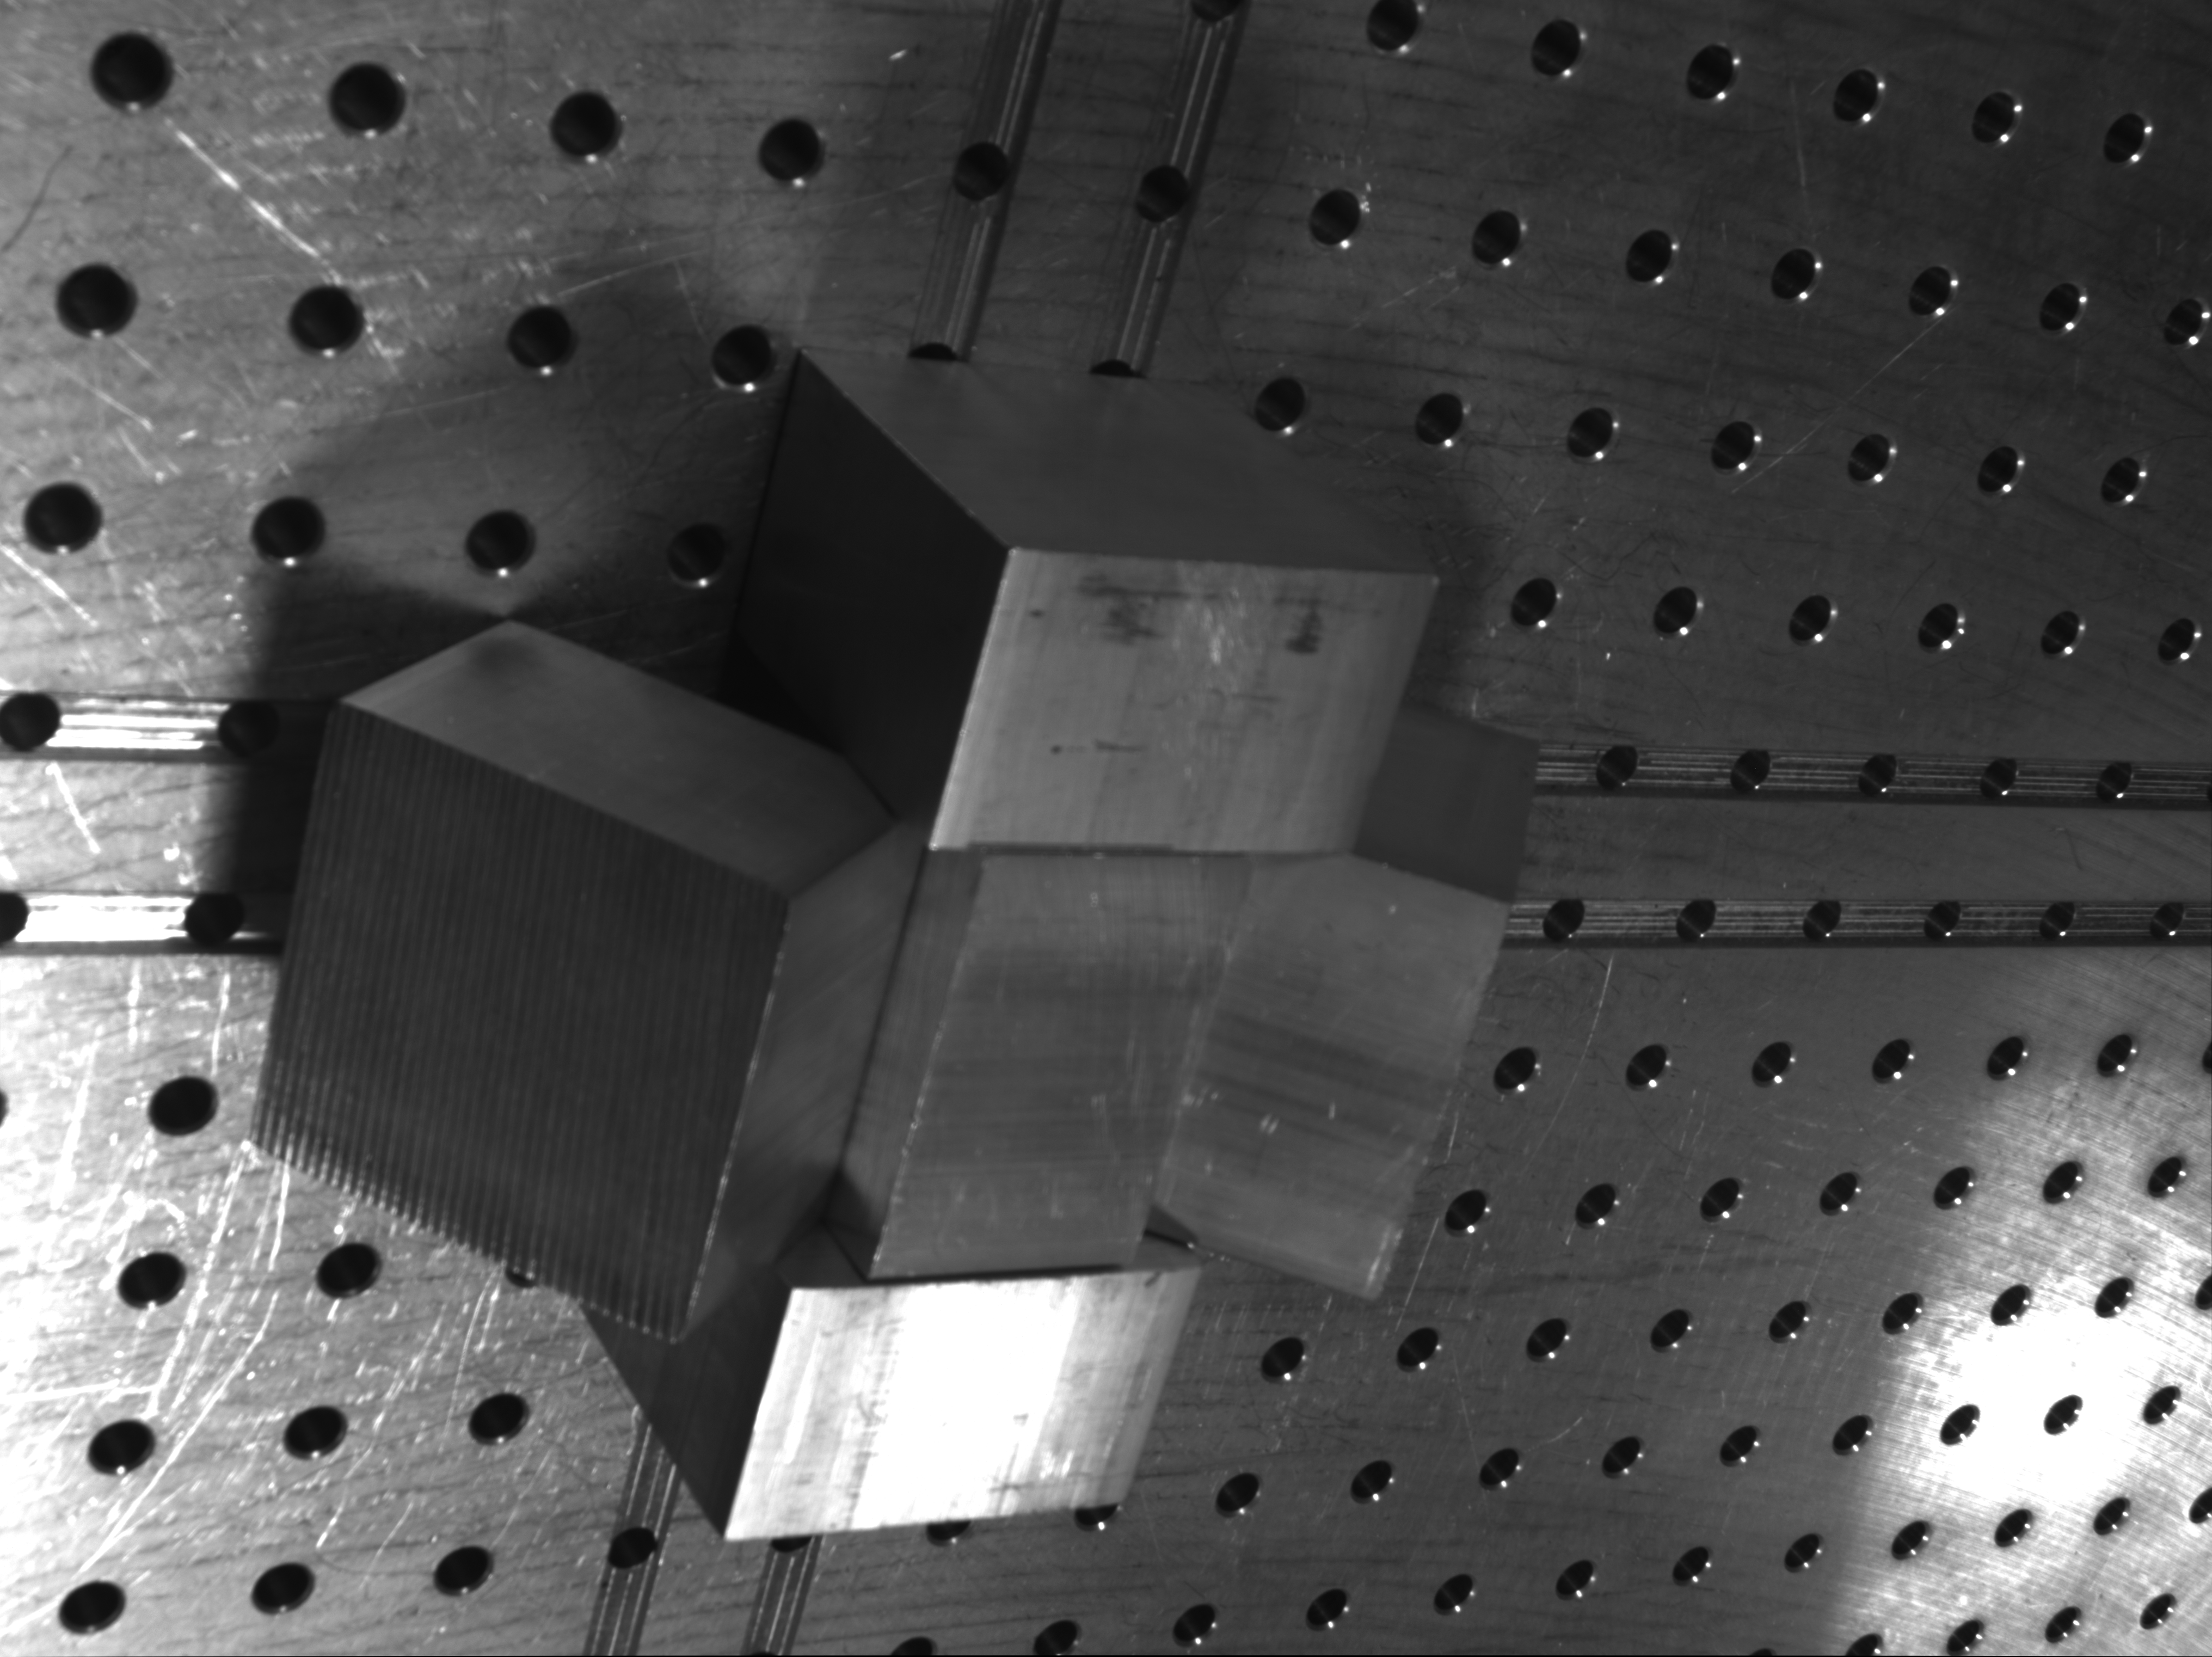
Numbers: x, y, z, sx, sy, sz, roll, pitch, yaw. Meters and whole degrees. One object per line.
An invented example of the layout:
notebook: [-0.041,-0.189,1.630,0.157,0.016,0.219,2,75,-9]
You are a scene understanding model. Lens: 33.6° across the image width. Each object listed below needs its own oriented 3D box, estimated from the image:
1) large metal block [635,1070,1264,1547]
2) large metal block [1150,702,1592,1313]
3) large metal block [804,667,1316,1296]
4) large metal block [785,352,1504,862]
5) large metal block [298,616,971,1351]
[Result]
large metal block: [-0.031,0.079,0.647,0.080,0.080,0.050,1,118,-31]
large metal block: [0.048,0.026,0.651,0.050,0.080,0.080,17,113,4]
large metal block: [-0.016,0.022,0.621,0.050,0.080,0.080,1,118,-31]
large metal block: [0.004,-0.036,0.597,0.080,0.080,0.050,1,118,-31]
large metal block: [-0.074,0.023,0.581,0.050,0.080,0.080,-37,147,-61]
